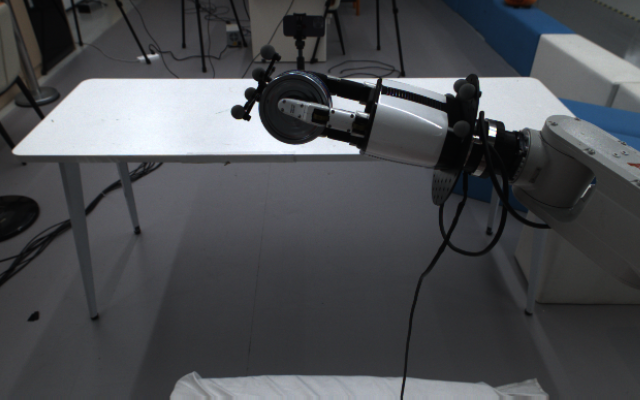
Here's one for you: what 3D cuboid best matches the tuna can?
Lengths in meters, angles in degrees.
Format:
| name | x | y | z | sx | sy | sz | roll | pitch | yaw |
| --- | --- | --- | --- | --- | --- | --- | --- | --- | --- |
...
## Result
| name | x | y | z | sx | sy | sz | roll | pitch | yaw |
| --- | --- | --- | --- | --- | --- | --- | --- | --- | --- |
| tuna can | -0.025 | -0.108 | 0.578 | 0.085 | 0.085 | 0.034 | 3 | 21 | 1 |
